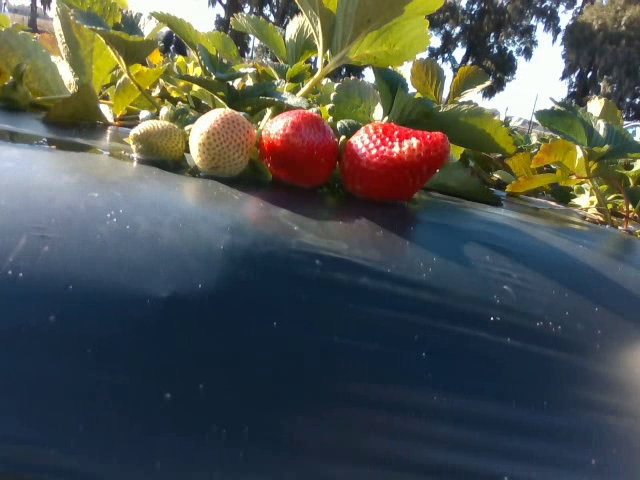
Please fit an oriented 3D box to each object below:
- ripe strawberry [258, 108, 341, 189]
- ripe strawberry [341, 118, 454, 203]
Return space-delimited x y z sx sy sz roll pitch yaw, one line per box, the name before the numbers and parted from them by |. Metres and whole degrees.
ripe strawberry | -0.012 -0.048 0.292 0.050 0.044 0.061 32 2 7
ripe strawberry | 0.042 -0.041 0.297 0.056 0.052 0.067 -32 12 -37
